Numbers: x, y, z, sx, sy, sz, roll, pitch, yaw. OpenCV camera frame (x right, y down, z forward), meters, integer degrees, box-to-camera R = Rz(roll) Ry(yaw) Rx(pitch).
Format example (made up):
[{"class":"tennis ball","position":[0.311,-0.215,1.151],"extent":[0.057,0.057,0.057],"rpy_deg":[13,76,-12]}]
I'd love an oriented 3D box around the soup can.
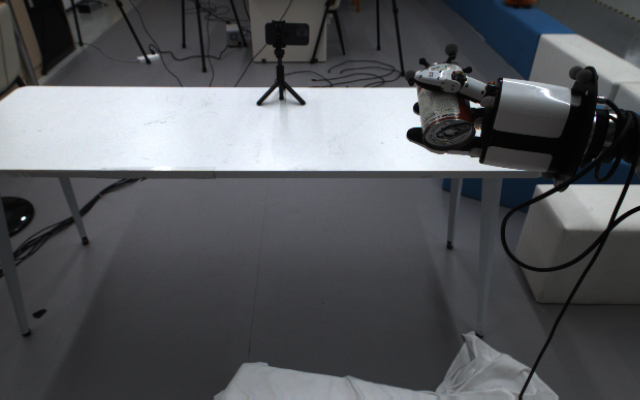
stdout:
[{"class":"soup can","position":[0.167,-0.128,0.658],"extent":[0.067,0.067,0.101],"rpy_deg":[1,61,-1]}]
